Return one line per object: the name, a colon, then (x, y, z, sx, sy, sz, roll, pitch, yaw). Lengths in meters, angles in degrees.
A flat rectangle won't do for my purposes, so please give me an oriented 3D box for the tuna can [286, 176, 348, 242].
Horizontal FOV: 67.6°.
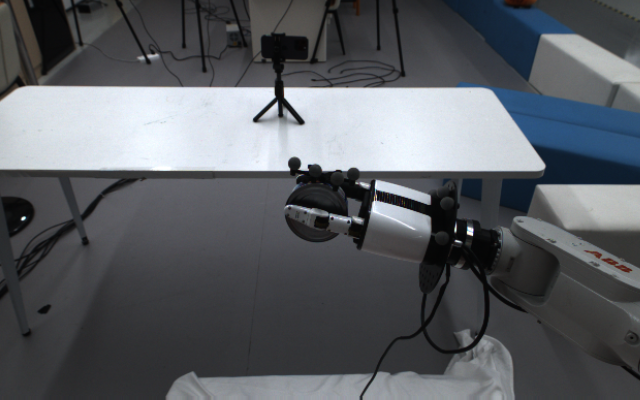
tuna can: (-0.003, 0.012, 0.663, 0.085, 0.085, 0.034, 5, 18, 4)
